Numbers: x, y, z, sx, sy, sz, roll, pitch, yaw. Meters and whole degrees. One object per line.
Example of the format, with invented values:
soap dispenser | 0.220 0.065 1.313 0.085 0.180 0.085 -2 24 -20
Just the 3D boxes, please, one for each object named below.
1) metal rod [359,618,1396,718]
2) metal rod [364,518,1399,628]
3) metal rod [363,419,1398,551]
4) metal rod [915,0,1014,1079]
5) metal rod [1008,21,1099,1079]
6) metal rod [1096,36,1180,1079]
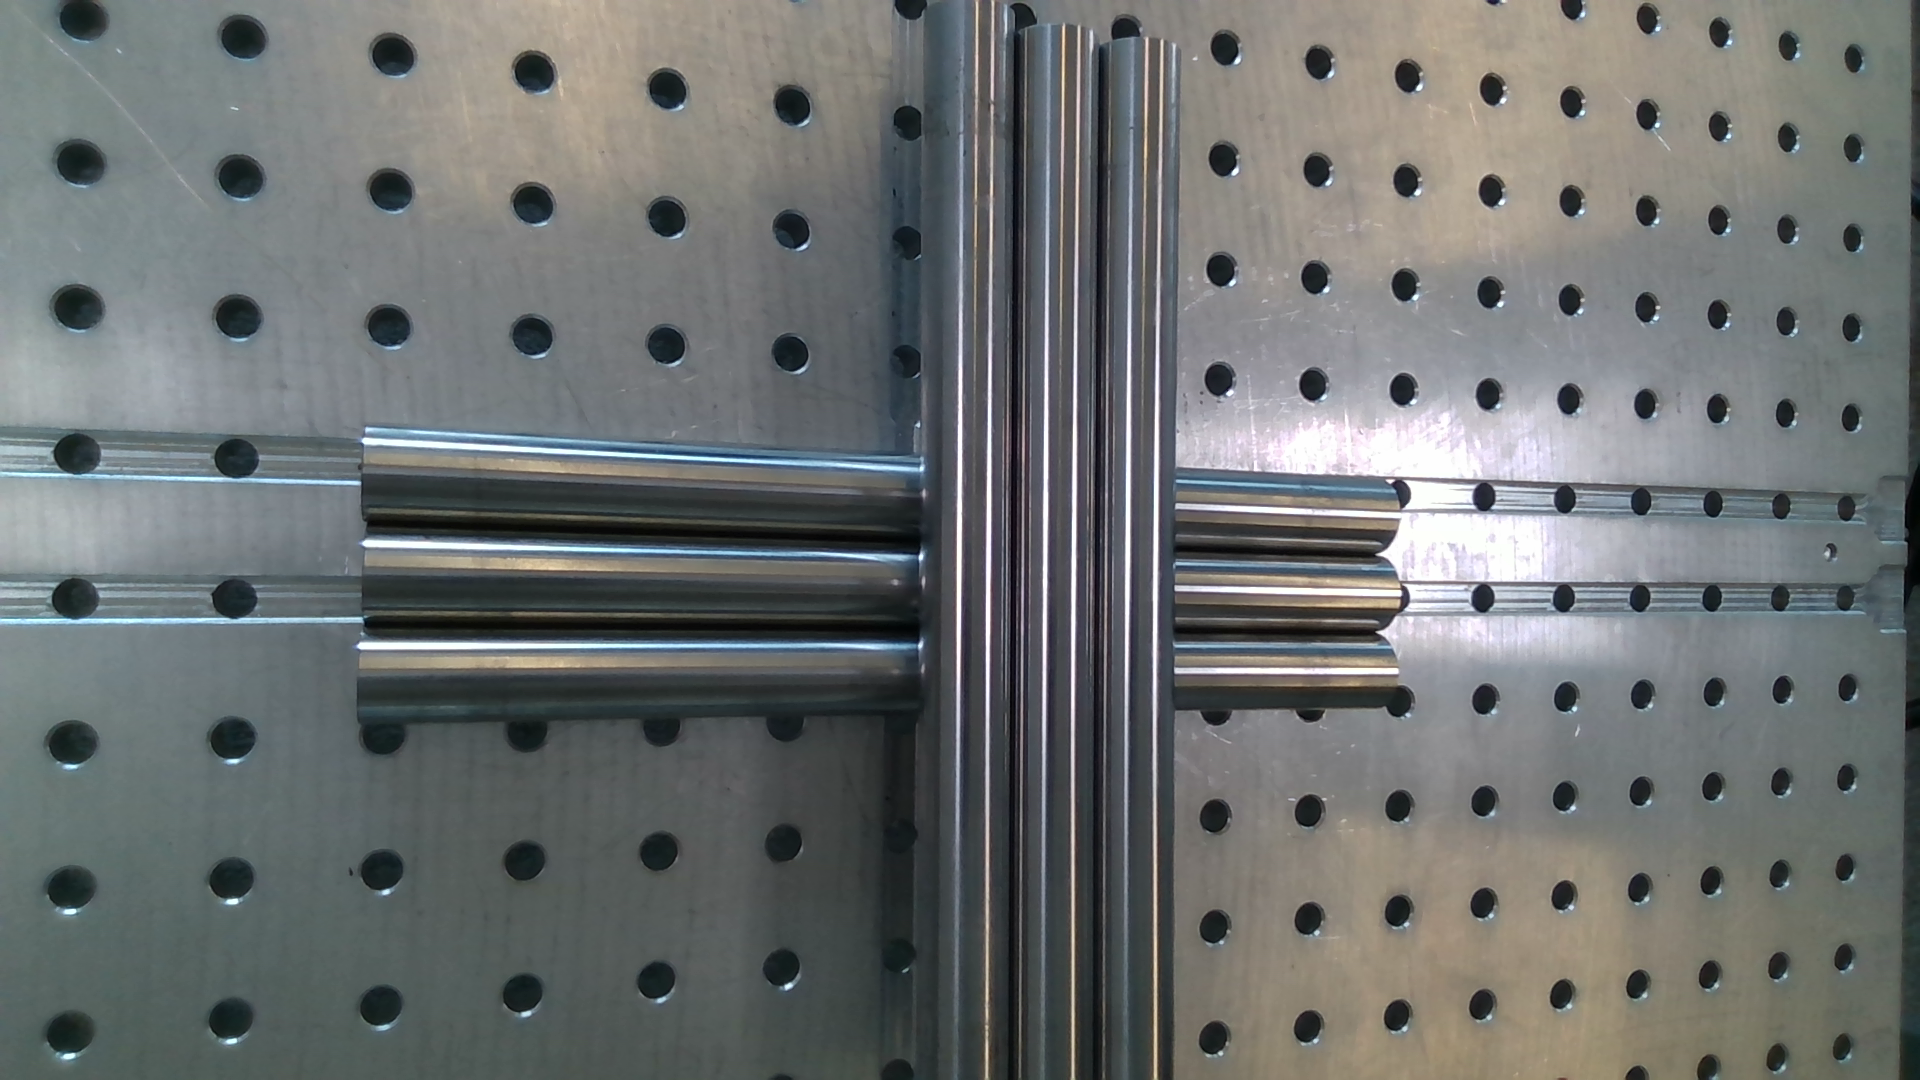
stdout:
metal rod | -0.008 0.037 0.394 0.300 0.025 0.025 2 89 -20
metal rod | -0.007 0.012 0.394 0.300 0.025 0.025 2 89 -20
metal rod | -0.007 -0.013 0.394 0.300 0.025 0.025 2 89 -20
metal rod | 0.001 0.008 0.370 0.025 0.025 0.300 0 90 -20
metal rod | 0.025 0.012 0.379 0.025 0.025 0.300 0 90 -20
metal rod | 0.048 0.013 0.387 0.025 0.025 0.300 0 90 -20
